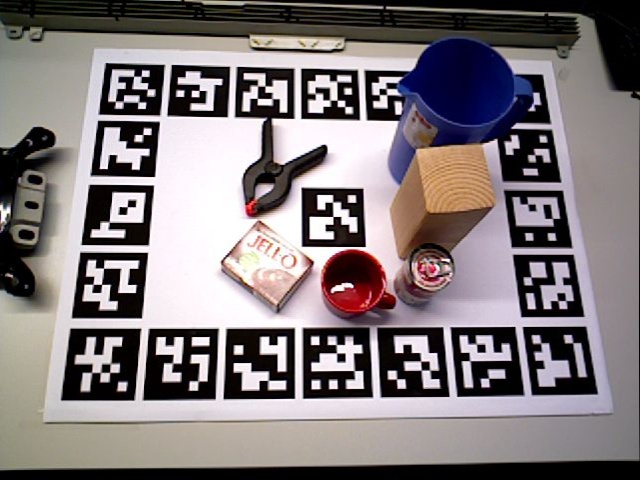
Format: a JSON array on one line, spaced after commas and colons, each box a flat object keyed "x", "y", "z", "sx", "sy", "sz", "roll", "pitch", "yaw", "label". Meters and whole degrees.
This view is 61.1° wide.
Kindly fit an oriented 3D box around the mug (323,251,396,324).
[{"x": 0.057, "y": 0.079, "z": 0.771, "sx": 0.117, "sy": 0.083, "sz": 0.092, "roll": 34, "pitch": 70, "yaw": 10, "label": "mug"}]

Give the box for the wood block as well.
[{"x": 0.169, "y": -0.046, "z": 0.748, "sx": 0.089, "sy": 0.209, "sz": 0.090, "roll": -2, "pitch": 70, "yaw": -8, "label": "wood block"}]

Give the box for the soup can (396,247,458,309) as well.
[{"x": 0.150, "y": 0.057, "z": 0.769, "sx": 0.067, "sy": 0.103, "sz": 0.067, "roll": 1, "pitch": 73, "yaw": -3, "label": "soup can"}]

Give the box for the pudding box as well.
[{"x": -0.086, "y": 0.041, "z": 0.803, "sx": 0.114, "sy": 0.039, "sz": 0.089, "roll": 36, "pitch": 77, "yaw": 10, "label": "pudding box"}]

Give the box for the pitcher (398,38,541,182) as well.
[{"x": 0.192, "y": -0.166, "z": 0.772, "sx": 0.188, "sy": 0.246, "sz": 0.132, "roll": -1, "pitch": 68, "yaw": -1, "label": "pitcher"}]

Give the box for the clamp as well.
[{"x": -0.068, "y": -0.109, "z": 0.858, "sx": 0.121, "sy": 0.037, "sz": 0.163, "roll": 30, "pitch": 73, "yaw": -1, "label": "clamp"}]
